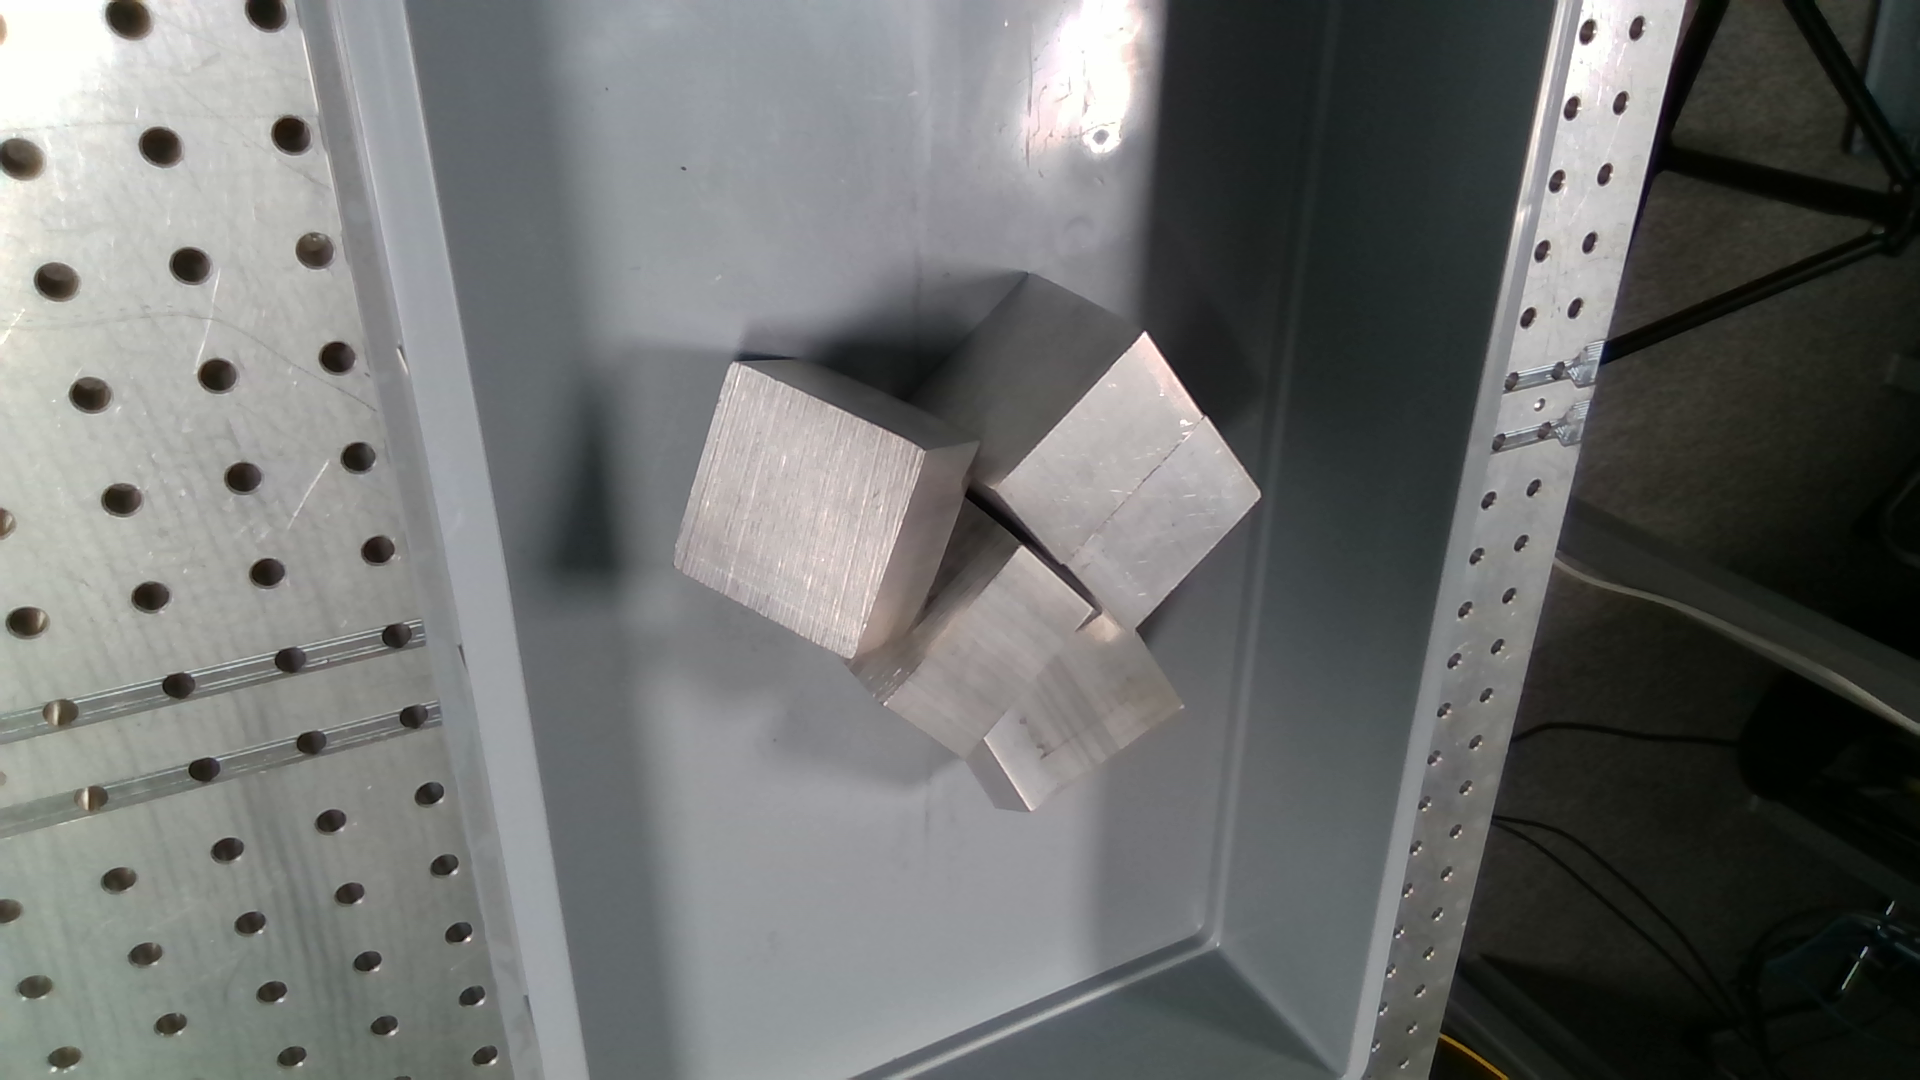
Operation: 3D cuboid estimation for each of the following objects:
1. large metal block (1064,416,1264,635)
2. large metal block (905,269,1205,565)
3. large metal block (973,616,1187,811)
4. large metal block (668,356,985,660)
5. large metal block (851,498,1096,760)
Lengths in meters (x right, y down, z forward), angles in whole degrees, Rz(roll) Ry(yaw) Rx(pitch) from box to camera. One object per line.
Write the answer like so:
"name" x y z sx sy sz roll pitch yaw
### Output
"large metal block" 0.063 -0.021 0.571 0.080 0.080 0.050 -47 129 -2
"large metal block" 0.033 -0.050 0.538 0.080 0.080 0.050 -46 129 -2
"large metal block" 0.041 0.073 0.600 0.080 0.080 0.050 -33 87 -13
"large metal block" -0.049 -0.014 0.498 0.050 0.080 0.080 -19 132 -65
"large metal block" -0.007 0.027 0.554 0.080 0.080 0.050 -49 129 0
